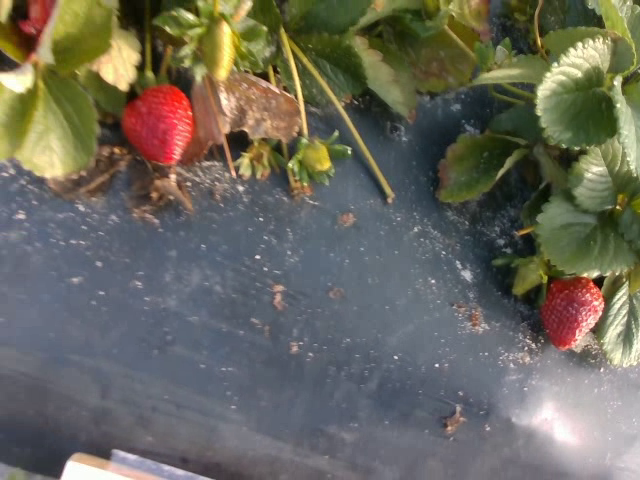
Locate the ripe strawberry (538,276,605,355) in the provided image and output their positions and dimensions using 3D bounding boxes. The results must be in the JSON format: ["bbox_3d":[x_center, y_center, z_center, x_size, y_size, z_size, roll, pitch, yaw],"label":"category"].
[{"bbox_3d":[0.101,0.031,0.254,0.029,0.036,0.021,21,-17,-2],"label":"ripe strawberry"}]

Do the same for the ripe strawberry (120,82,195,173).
[{"bbox_3d":[-0.058,-0.039,0.228,0.031,0.030,0.026,-17,-23,-12],"label":"ripe strawberry"}]
